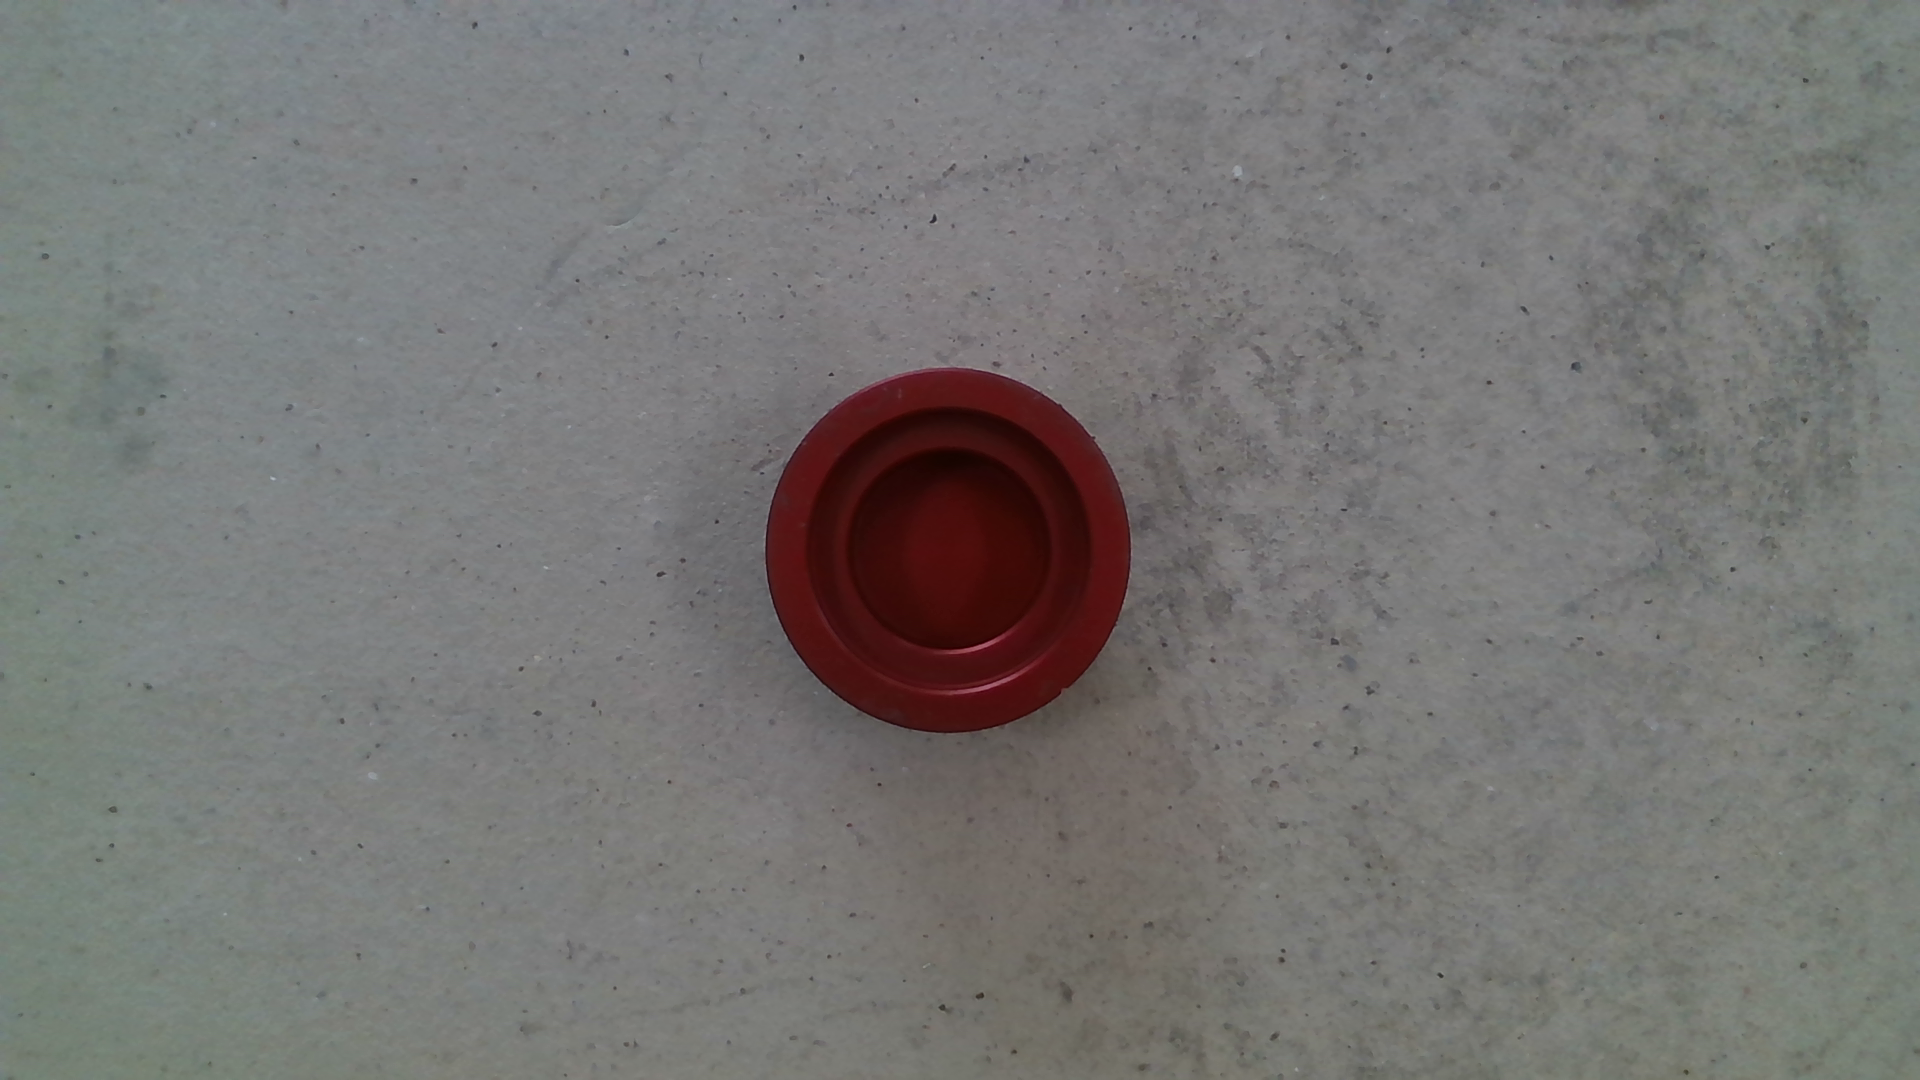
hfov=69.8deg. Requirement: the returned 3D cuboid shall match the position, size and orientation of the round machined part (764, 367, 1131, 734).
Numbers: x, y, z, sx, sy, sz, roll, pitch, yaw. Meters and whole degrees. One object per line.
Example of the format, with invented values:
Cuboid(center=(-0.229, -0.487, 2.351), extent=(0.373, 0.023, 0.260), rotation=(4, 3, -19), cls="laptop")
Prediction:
Cuboid(center=(-0.003, 0.003, 0.387), extent=(0.098, 0.042, 0.098), rotation=(0, 90, 0), cls="round machined part")
